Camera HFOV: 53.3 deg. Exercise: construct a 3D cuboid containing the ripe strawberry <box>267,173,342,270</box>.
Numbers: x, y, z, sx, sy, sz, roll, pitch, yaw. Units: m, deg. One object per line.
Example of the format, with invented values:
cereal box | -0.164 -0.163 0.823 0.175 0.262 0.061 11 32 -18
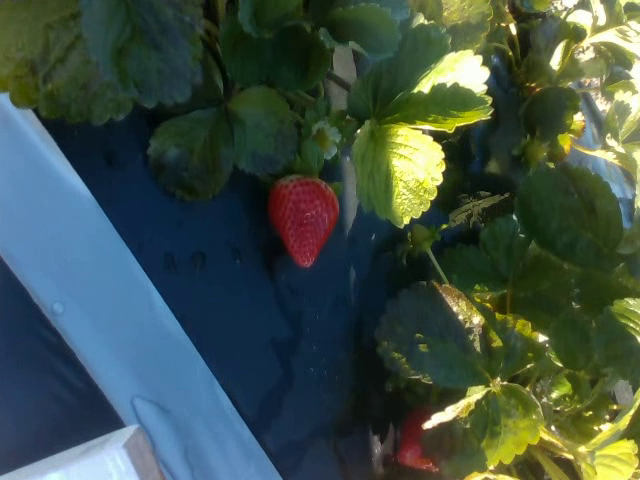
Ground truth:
ripe strawberry | -0.008 -0.010 0.334 0.045 0.059 0.042 5 -12 1
